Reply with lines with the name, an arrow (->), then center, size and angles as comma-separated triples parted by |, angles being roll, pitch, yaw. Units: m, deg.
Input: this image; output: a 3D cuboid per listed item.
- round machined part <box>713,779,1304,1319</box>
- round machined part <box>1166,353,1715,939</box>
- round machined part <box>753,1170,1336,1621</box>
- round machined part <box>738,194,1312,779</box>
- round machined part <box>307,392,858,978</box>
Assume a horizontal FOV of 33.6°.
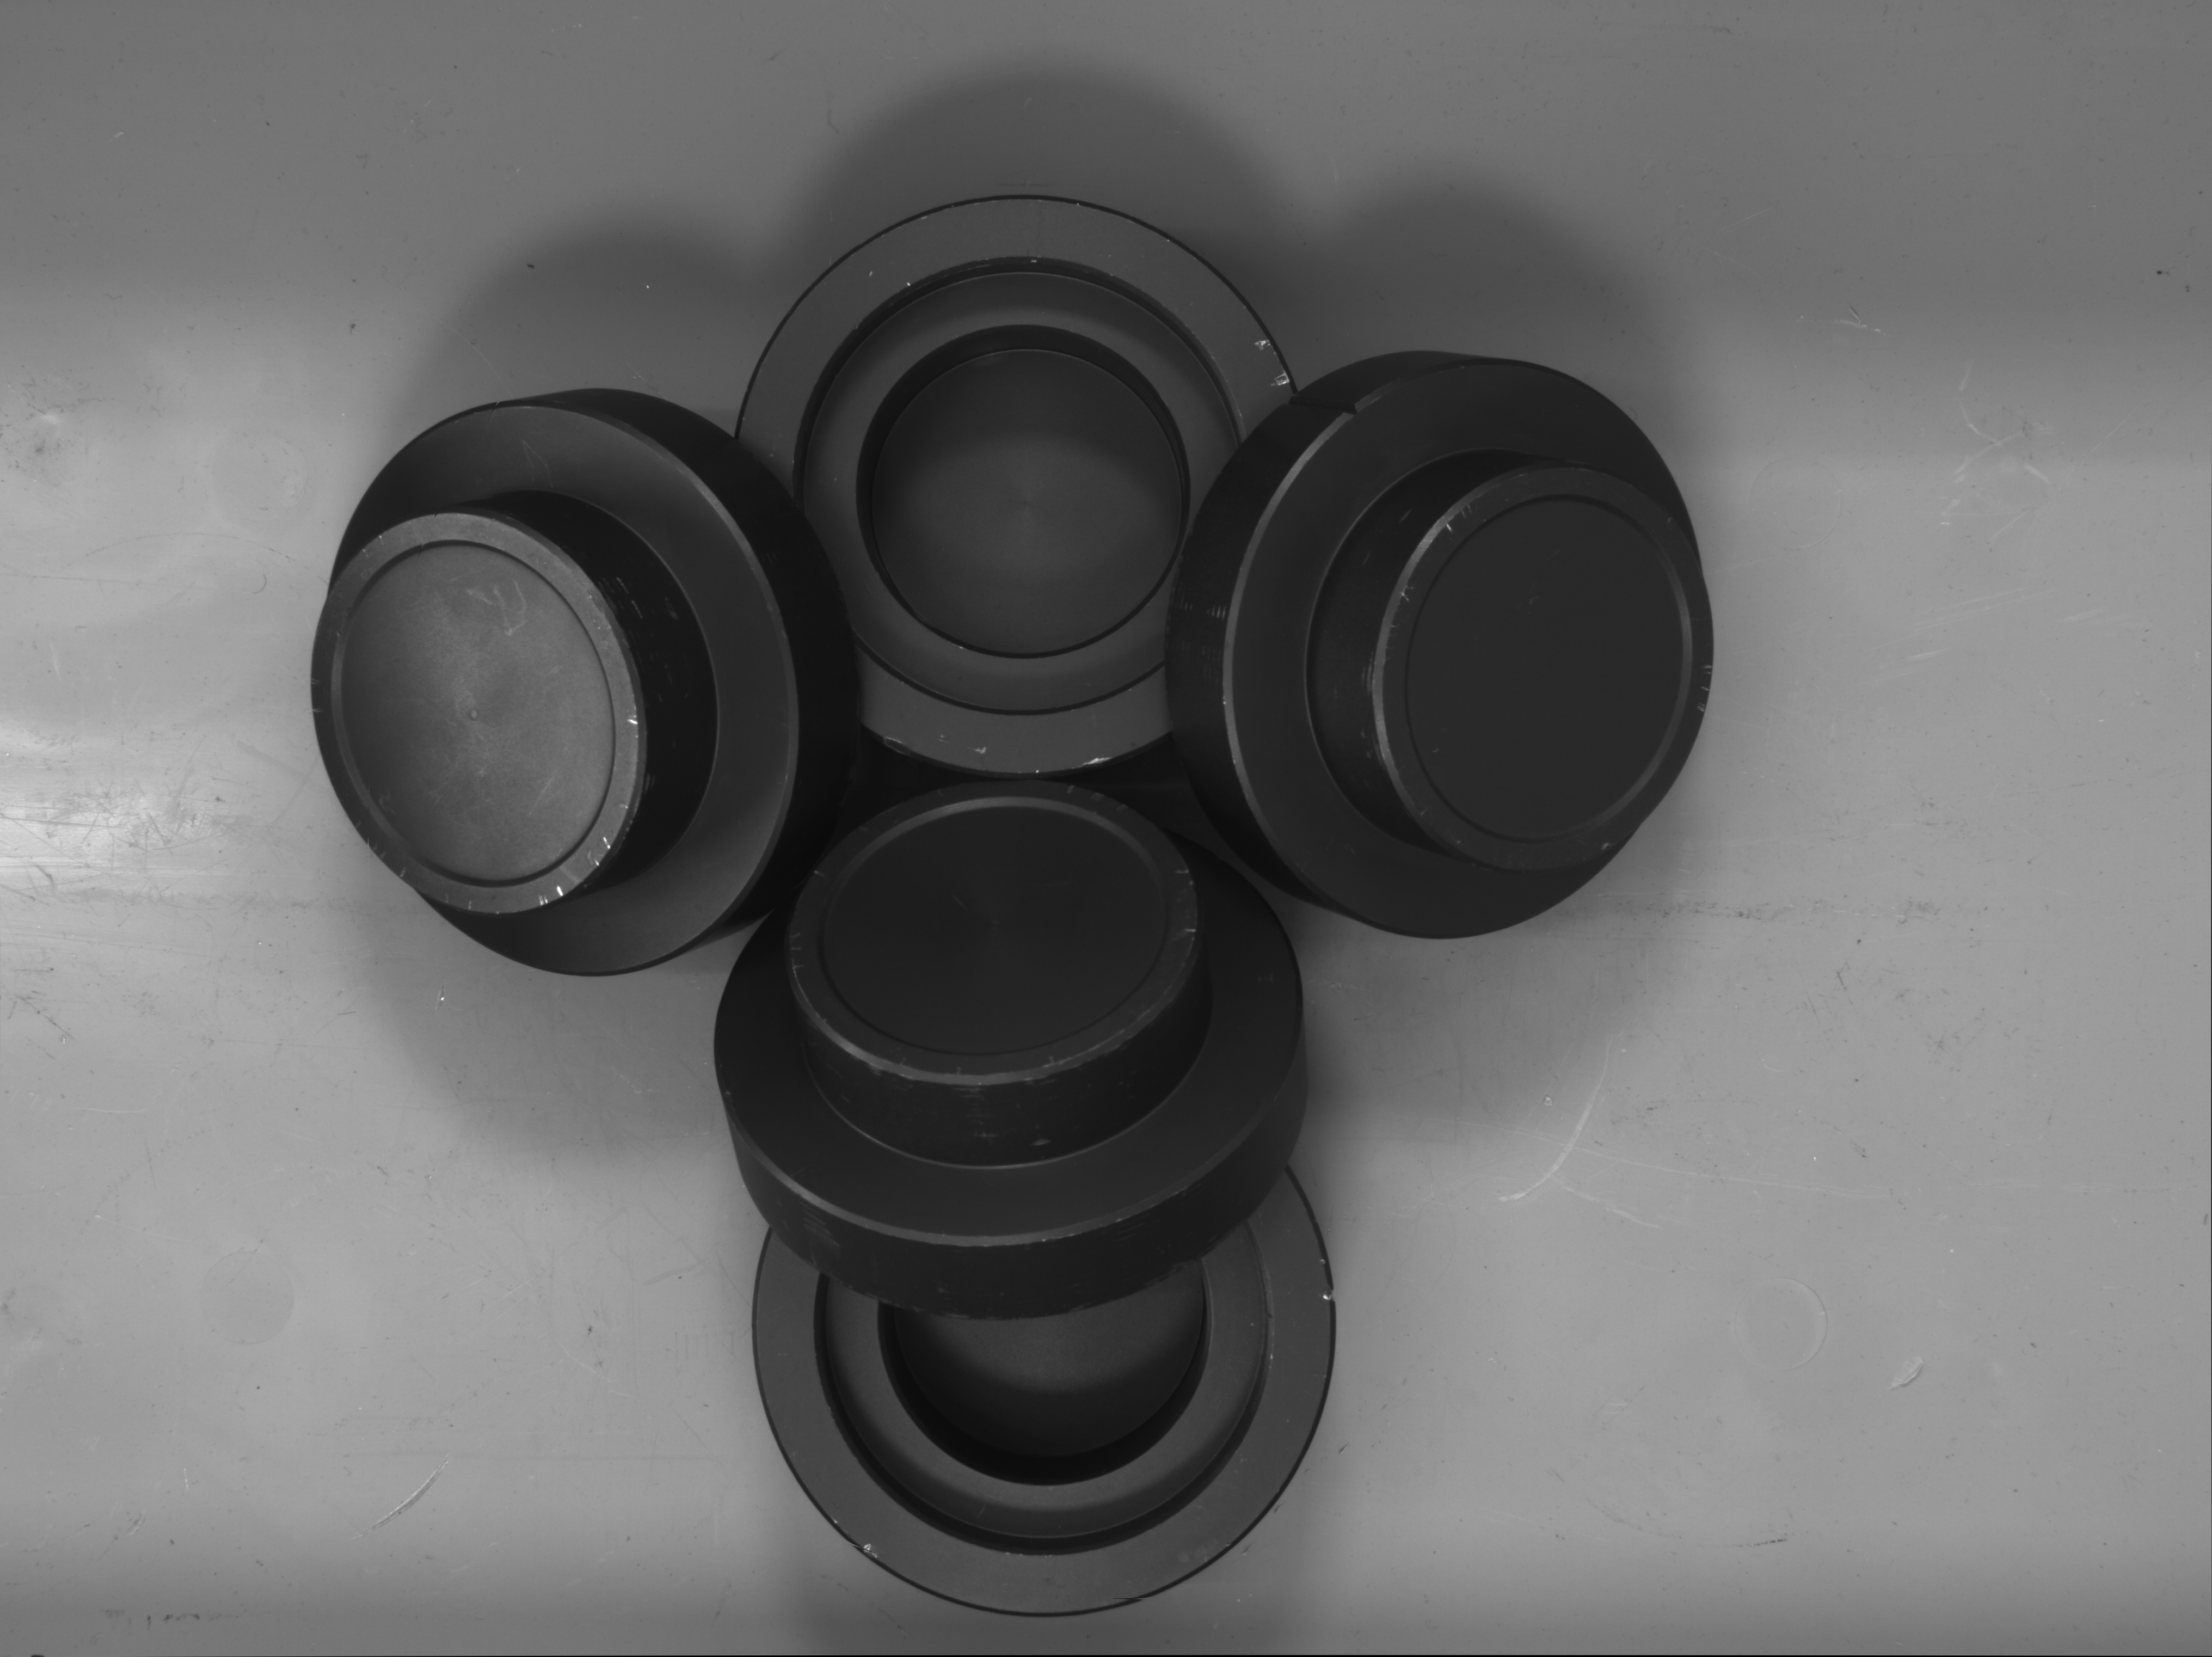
round machined part -> -0.016, 0.030, 0.607 | 0.098, 0.098, 0.042 | -6, 134, 0
round machined part -> 0.062, -0.029, 0.613 | 0.098, 0.042, 0.098 | -7, 104, -29
round machined part -> -0.010, 0.084, 0.635 | 0.098, 0.042, 0.098 | 0, 90, 0
round machined part -> -0.014, -0.057, 0.635 | 0.098, 0.042, 0.098 | 0, 90, 0
round machined part -> -0.094, -0.022, 0.614 | 0.098, 0.042, 0.098 | 6, 104, 27
